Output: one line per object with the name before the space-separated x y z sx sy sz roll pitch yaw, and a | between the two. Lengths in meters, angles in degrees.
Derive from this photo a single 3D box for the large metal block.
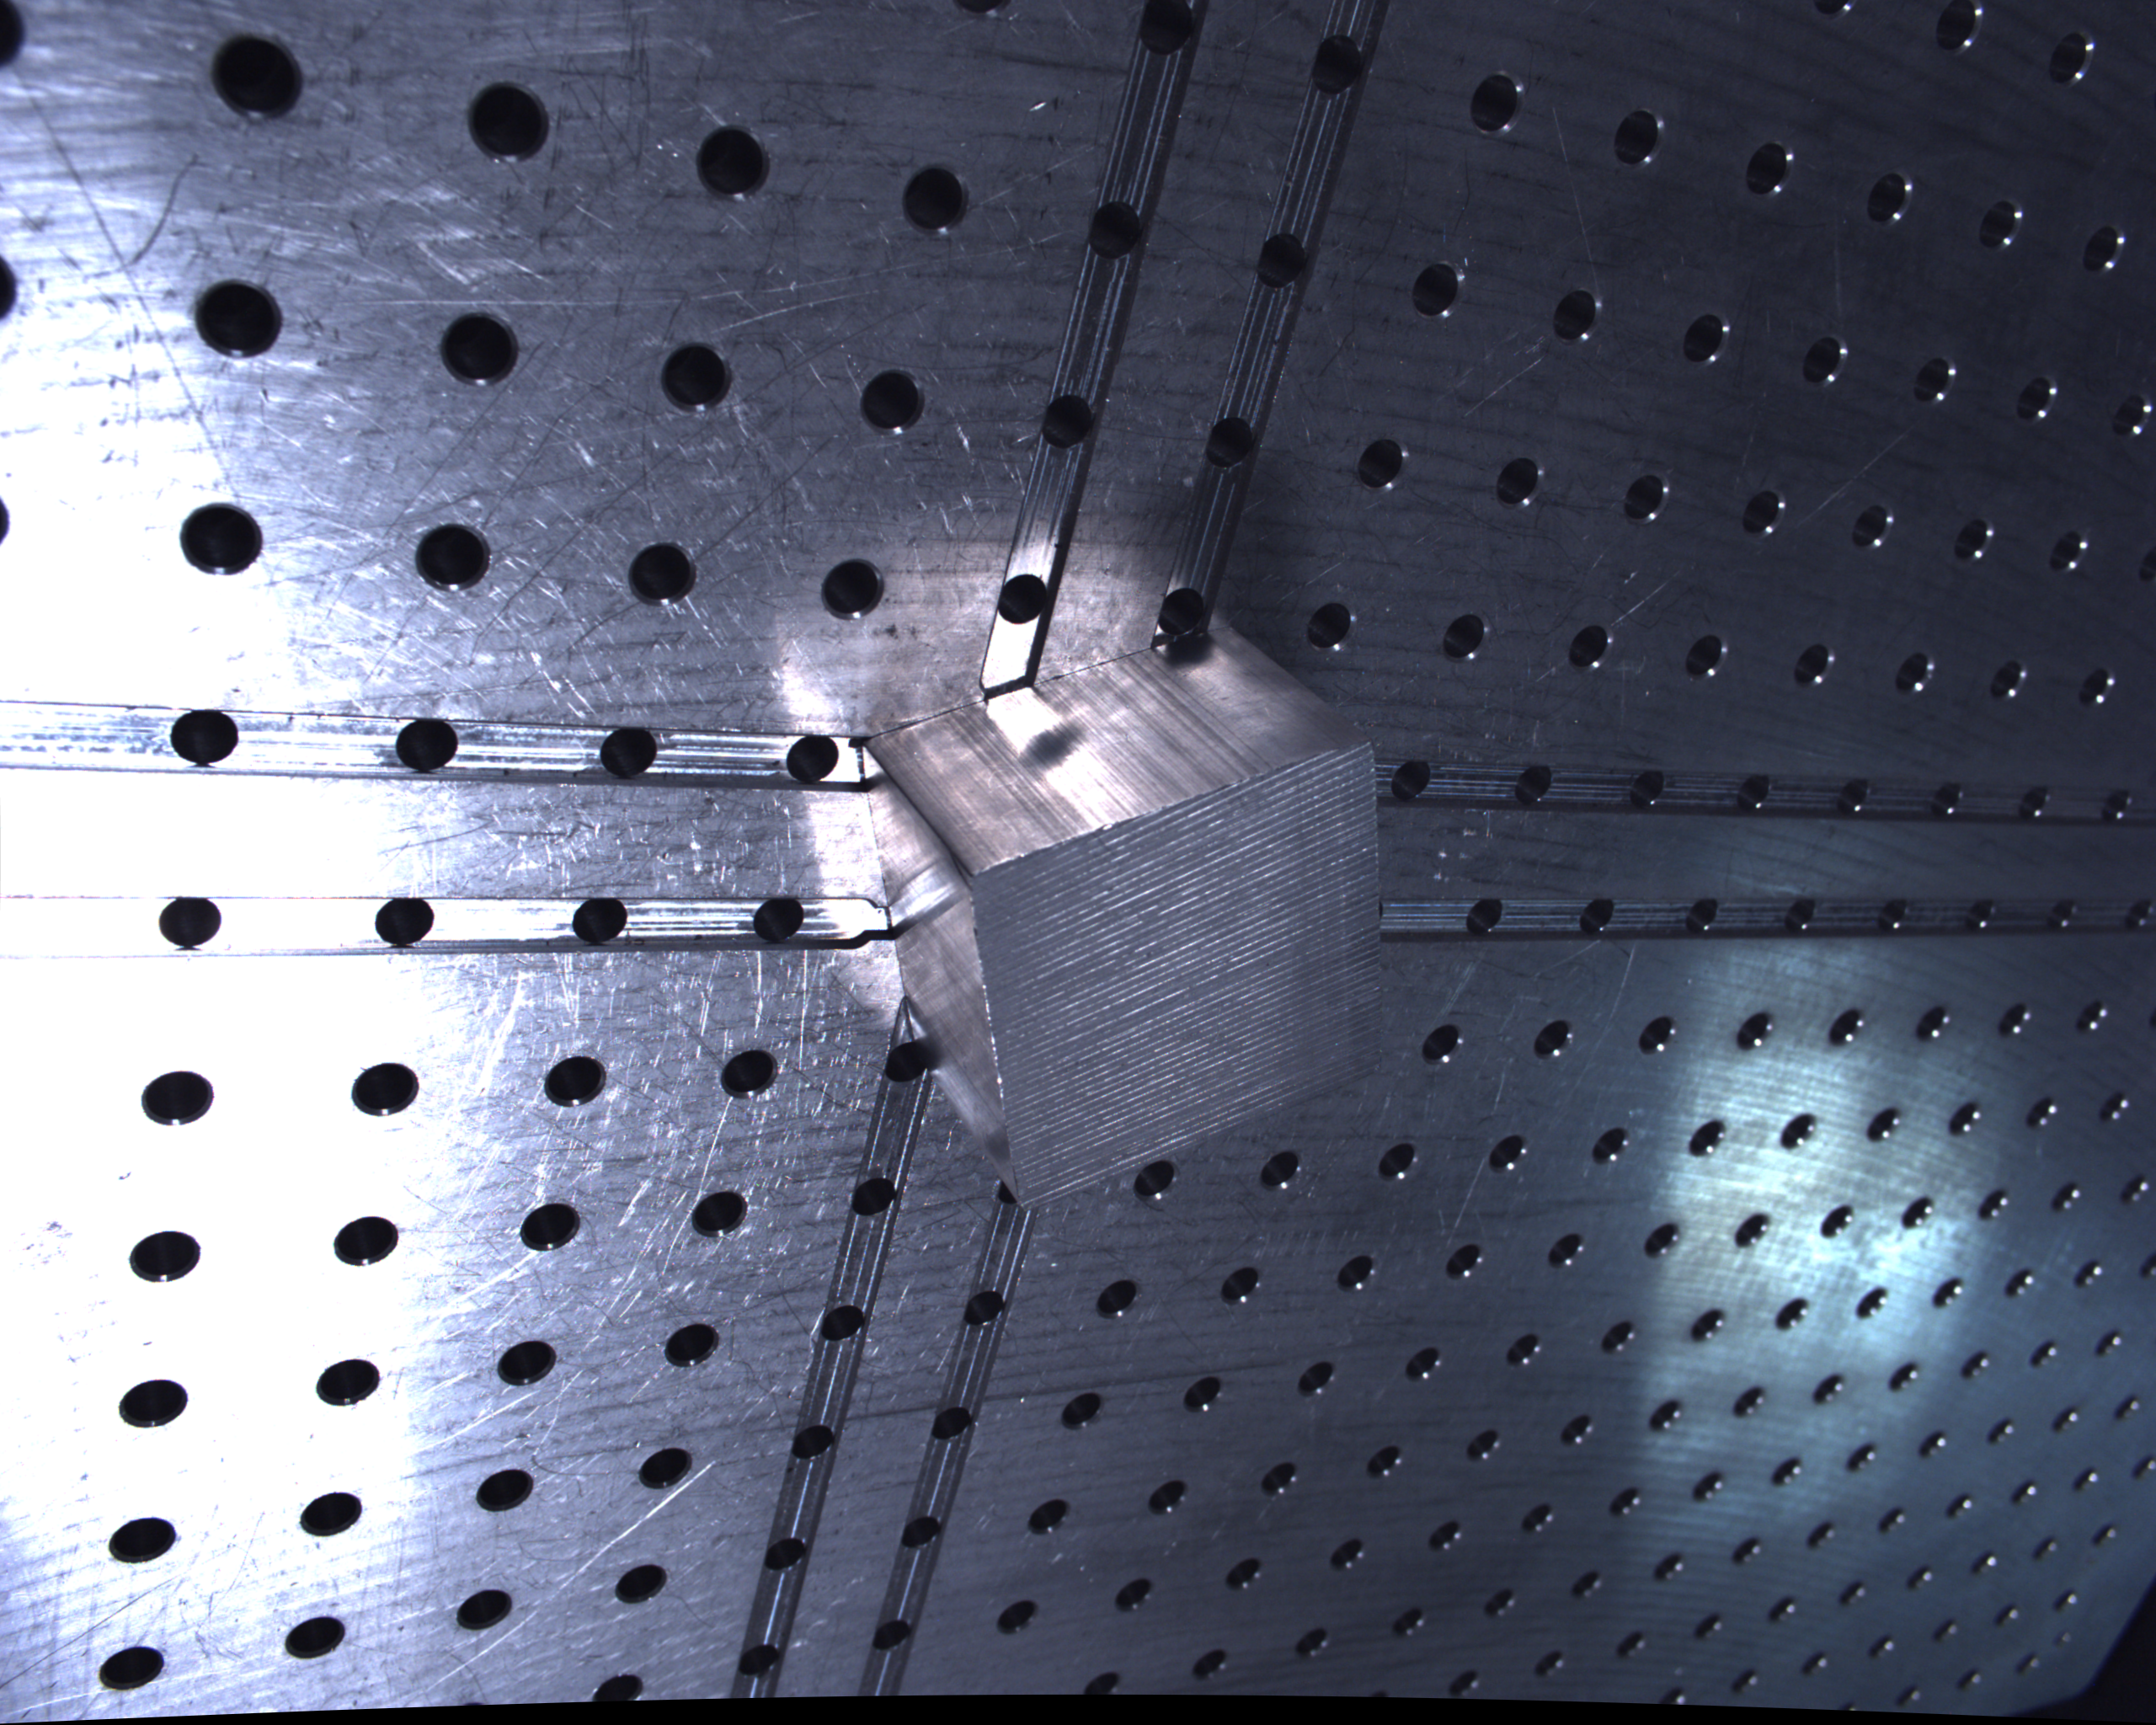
large metal block | 0.011 0.011 0.406 0.081 0.050 0.079 -19 126 -18
